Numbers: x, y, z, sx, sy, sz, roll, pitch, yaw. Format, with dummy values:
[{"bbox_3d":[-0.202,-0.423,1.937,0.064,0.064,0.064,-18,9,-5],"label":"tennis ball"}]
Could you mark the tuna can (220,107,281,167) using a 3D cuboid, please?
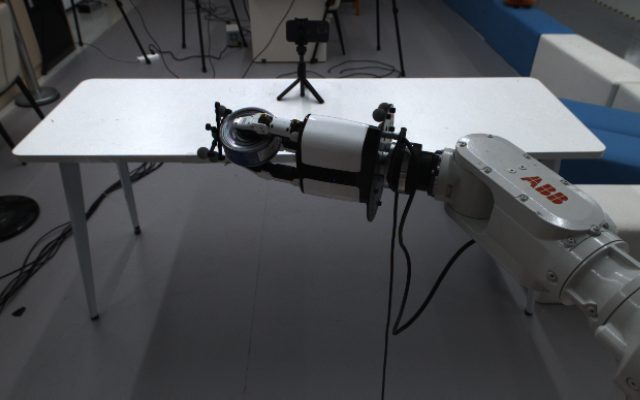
[{"bbox_3d":[-0.100,-0.093,0.695,0.085,0.034,0.085,-2,58,3],"label":"tuna can"}]
